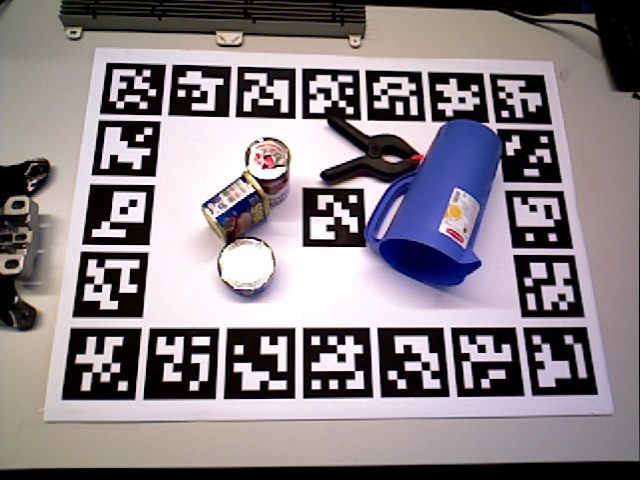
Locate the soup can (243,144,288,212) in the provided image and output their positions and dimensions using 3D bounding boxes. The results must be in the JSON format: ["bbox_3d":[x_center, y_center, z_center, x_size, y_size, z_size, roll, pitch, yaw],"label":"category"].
[{"bbox_3d":[-0.082,-0.092,0.828,0.067,0.103,0.067,0,73,-1],"label":"soup can"}]

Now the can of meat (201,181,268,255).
[{"bbox_3d":[-0.128,-0.029,0.802,0.083,0.103,0.058,-35,78,-10],"label":"can of meat"}]

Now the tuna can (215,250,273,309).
[{"bbox_3d":[-0.112,0.060,0.813,0.085,0.034,0.085,1,74,-3],"label":"tuna can"}]

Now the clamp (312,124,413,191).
[{"bbox_3d":[0.070,-0.130,0.892,0.164,0.037,0.120,4,68,-5],"label":"clamp"}]

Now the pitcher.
[{"bbox_3d":[0.187,-0.044,0.806,0.189,0.135,0.239,13,63,24],"label":"pitcher"}]
